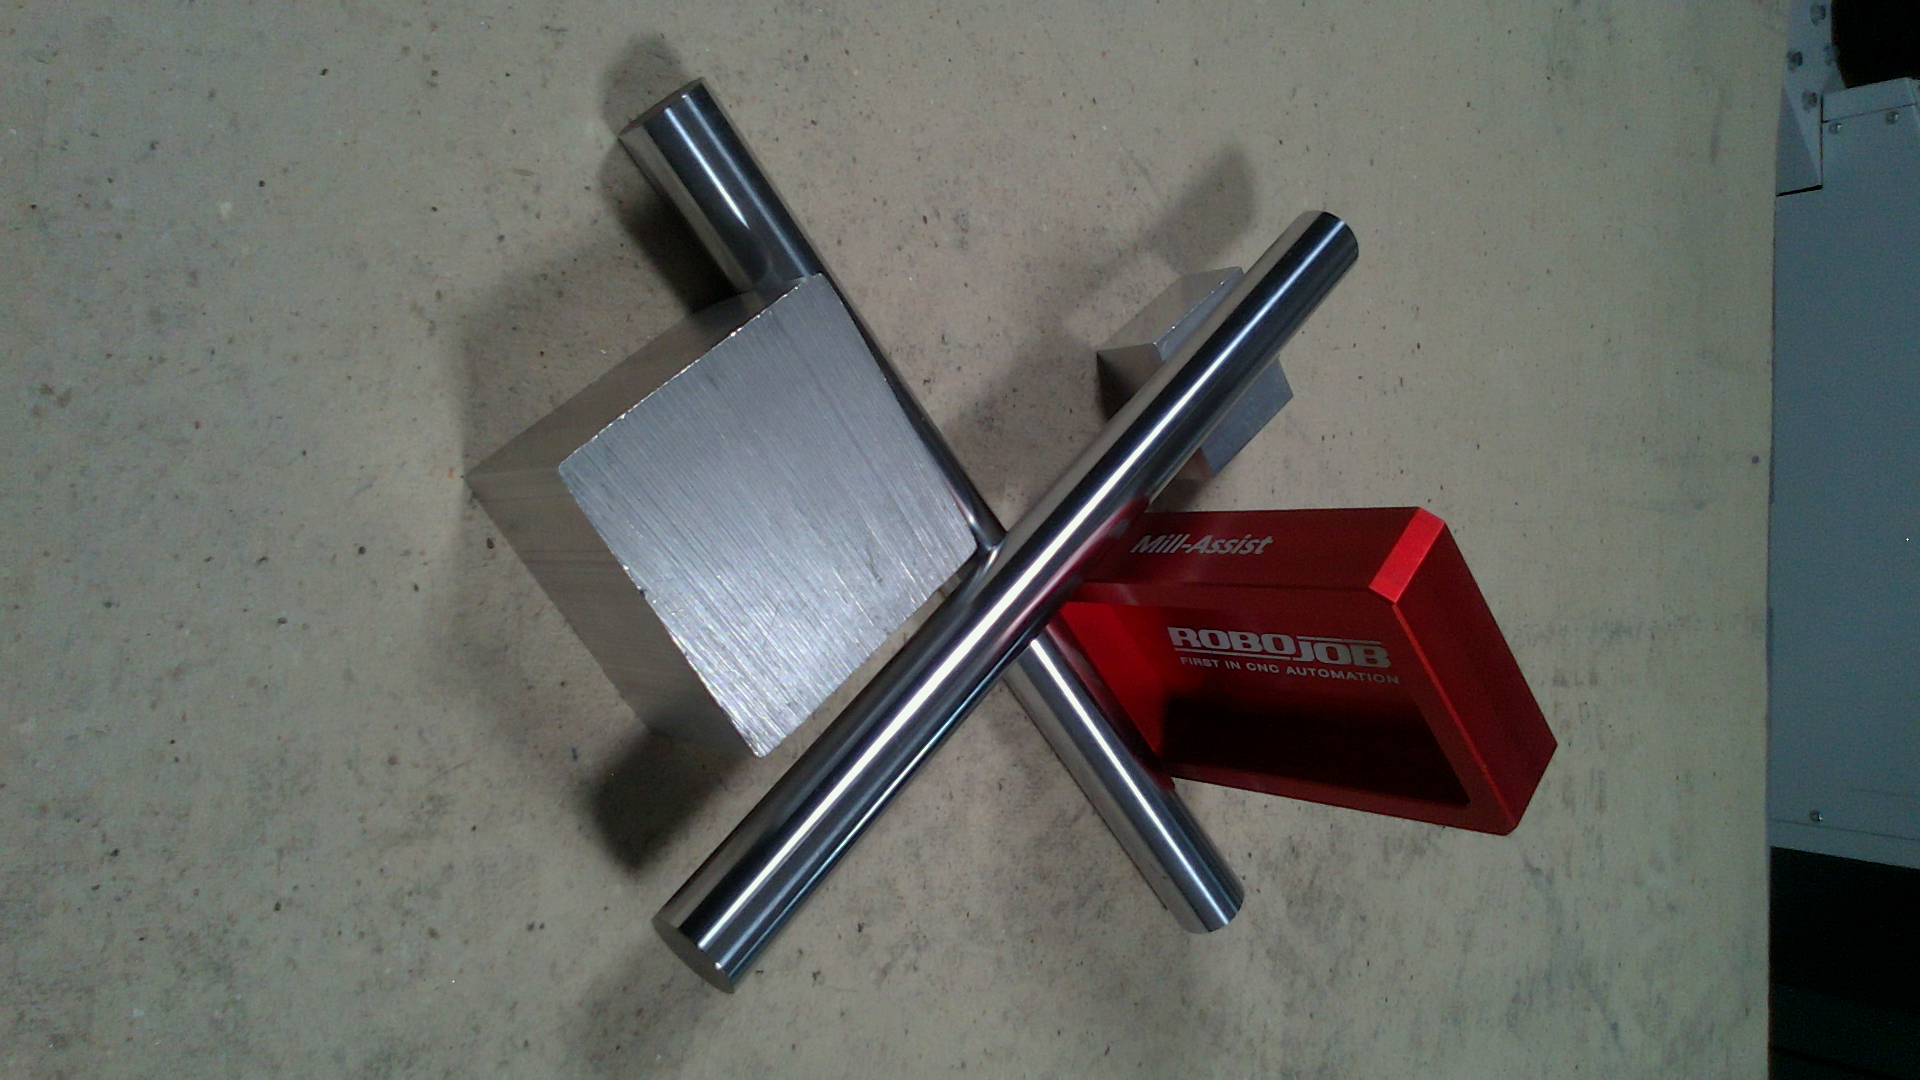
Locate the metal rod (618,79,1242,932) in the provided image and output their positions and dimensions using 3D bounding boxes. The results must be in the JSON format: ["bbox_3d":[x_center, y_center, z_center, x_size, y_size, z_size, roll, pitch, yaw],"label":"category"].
[{"bbox_3d":[0.005,0.008,0.394,0.025,0.025,0.301,-49,119,-28],"label":"metal rod"}]

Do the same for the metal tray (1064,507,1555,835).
[{"bbox_3d":[0.089,0.034,0.395,0.030,0.129,0.090,-50,119,-28],"label":"metal tray"}]

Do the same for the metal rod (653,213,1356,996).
[{"bbox_3d":[0.030,-0.002,0.381,0.301,0.025,0.025,-47,118,-30],"label":"metal rod"}]

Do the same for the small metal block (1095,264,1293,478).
[{"bbox_3d":[0.078,-0.055,0.454,0.050,0.025,0.050,-43,116,-31],"label":"small metal block"}]

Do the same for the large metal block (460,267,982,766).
[{"bbox_3d":[-0.054,-0.006,0.327,0.080,0.050,0.080,-44,117,-31],"label":"large metal block"}]
